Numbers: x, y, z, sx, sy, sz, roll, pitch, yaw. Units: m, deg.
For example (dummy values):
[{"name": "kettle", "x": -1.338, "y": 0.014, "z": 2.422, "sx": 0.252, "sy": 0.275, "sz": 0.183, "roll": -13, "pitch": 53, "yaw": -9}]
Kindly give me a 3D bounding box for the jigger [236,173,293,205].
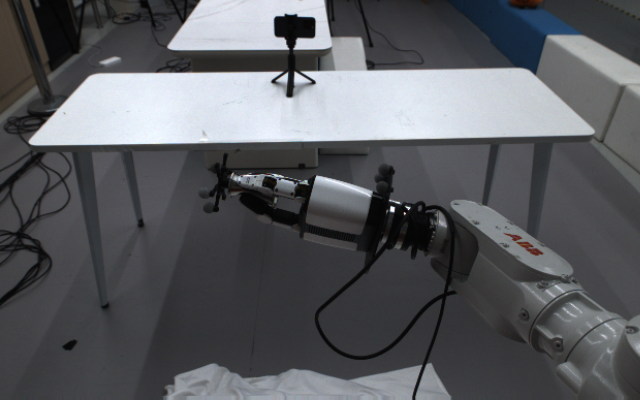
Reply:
[{"name": "jigger", "x": -0.089, "y": -0.021, "z": 0.706, "sx": 0.071, "sy": 0.043, "sz": 0.043, "roll": 11, "pitch": 35, "yaw": 3}]
